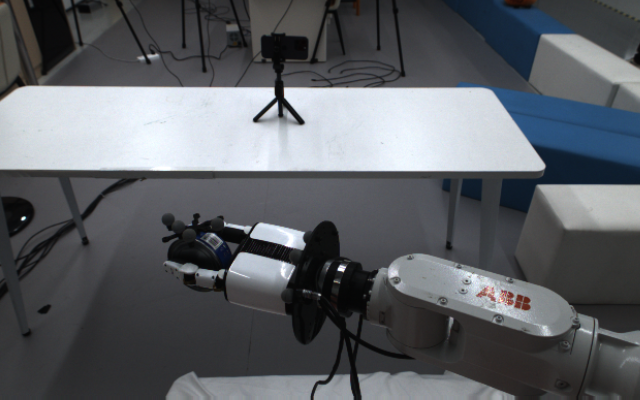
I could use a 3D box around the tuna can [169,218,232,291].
[{"bbox_3d":[-0.163,0.083,0.667,0.085,0.085,0.034,14,28,17],"label":"tuna can"}]
